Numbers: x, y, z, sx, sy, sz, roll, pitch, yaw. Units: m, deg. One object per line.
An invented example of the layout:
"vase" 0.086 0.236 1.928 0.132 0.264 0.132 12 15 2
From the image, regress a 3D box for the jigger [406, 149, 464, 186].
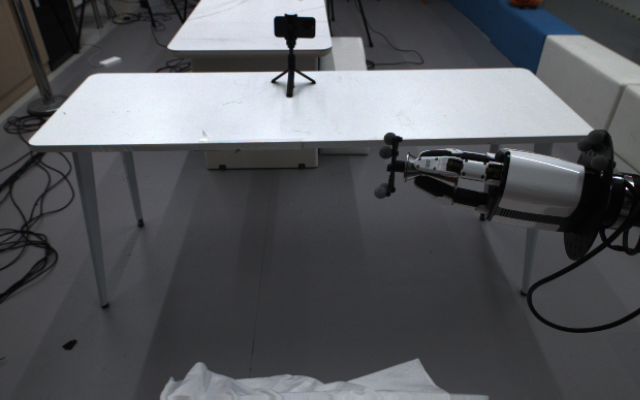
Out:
"jigger" 0.153 -0.042 0.633 0.071 0.043 0.043 8 35 14
